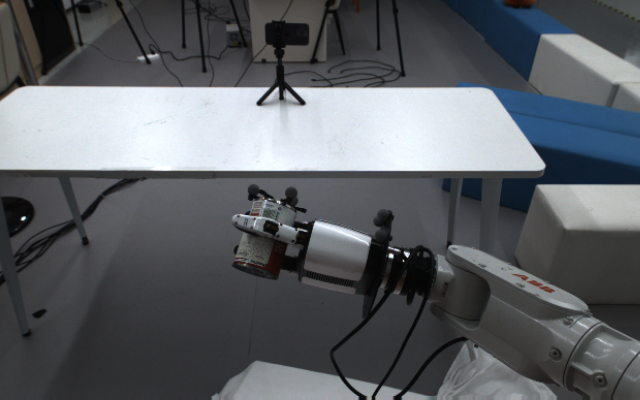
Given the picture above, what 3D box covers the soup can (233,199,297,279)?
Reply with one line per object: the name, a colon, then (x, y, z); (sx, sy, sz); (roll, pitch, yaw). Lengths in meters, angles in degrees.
soup can: (-0.077, 0.057, 0.691); (0.067, 0.067, 0.101); (11, 72, 13)
